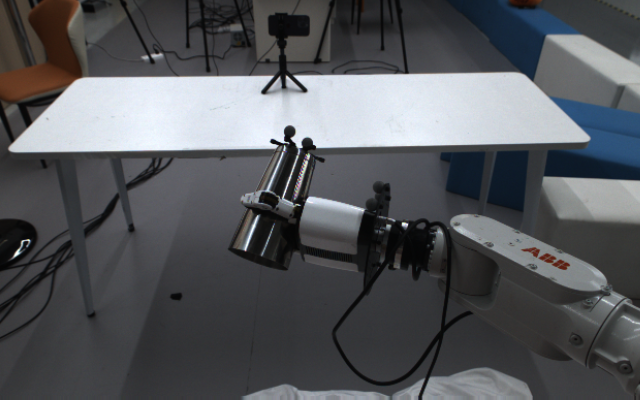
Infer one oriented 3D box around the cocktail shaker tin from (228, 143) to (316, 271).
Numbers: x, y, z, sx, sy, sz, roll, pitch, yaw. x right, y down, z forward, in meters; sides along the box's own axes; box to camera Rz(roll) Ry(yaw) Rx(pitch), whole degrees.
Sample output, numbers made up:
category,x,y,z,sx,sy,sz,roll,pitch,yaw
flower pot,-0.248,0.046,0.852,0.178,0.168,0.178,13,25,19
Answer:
category,x,y,z,sx,sy,sz,roll,pitch,yaw
cocktail shaker tin,-0.064,0.009,0.717,0.093,0.093,0.170,14,73,17
